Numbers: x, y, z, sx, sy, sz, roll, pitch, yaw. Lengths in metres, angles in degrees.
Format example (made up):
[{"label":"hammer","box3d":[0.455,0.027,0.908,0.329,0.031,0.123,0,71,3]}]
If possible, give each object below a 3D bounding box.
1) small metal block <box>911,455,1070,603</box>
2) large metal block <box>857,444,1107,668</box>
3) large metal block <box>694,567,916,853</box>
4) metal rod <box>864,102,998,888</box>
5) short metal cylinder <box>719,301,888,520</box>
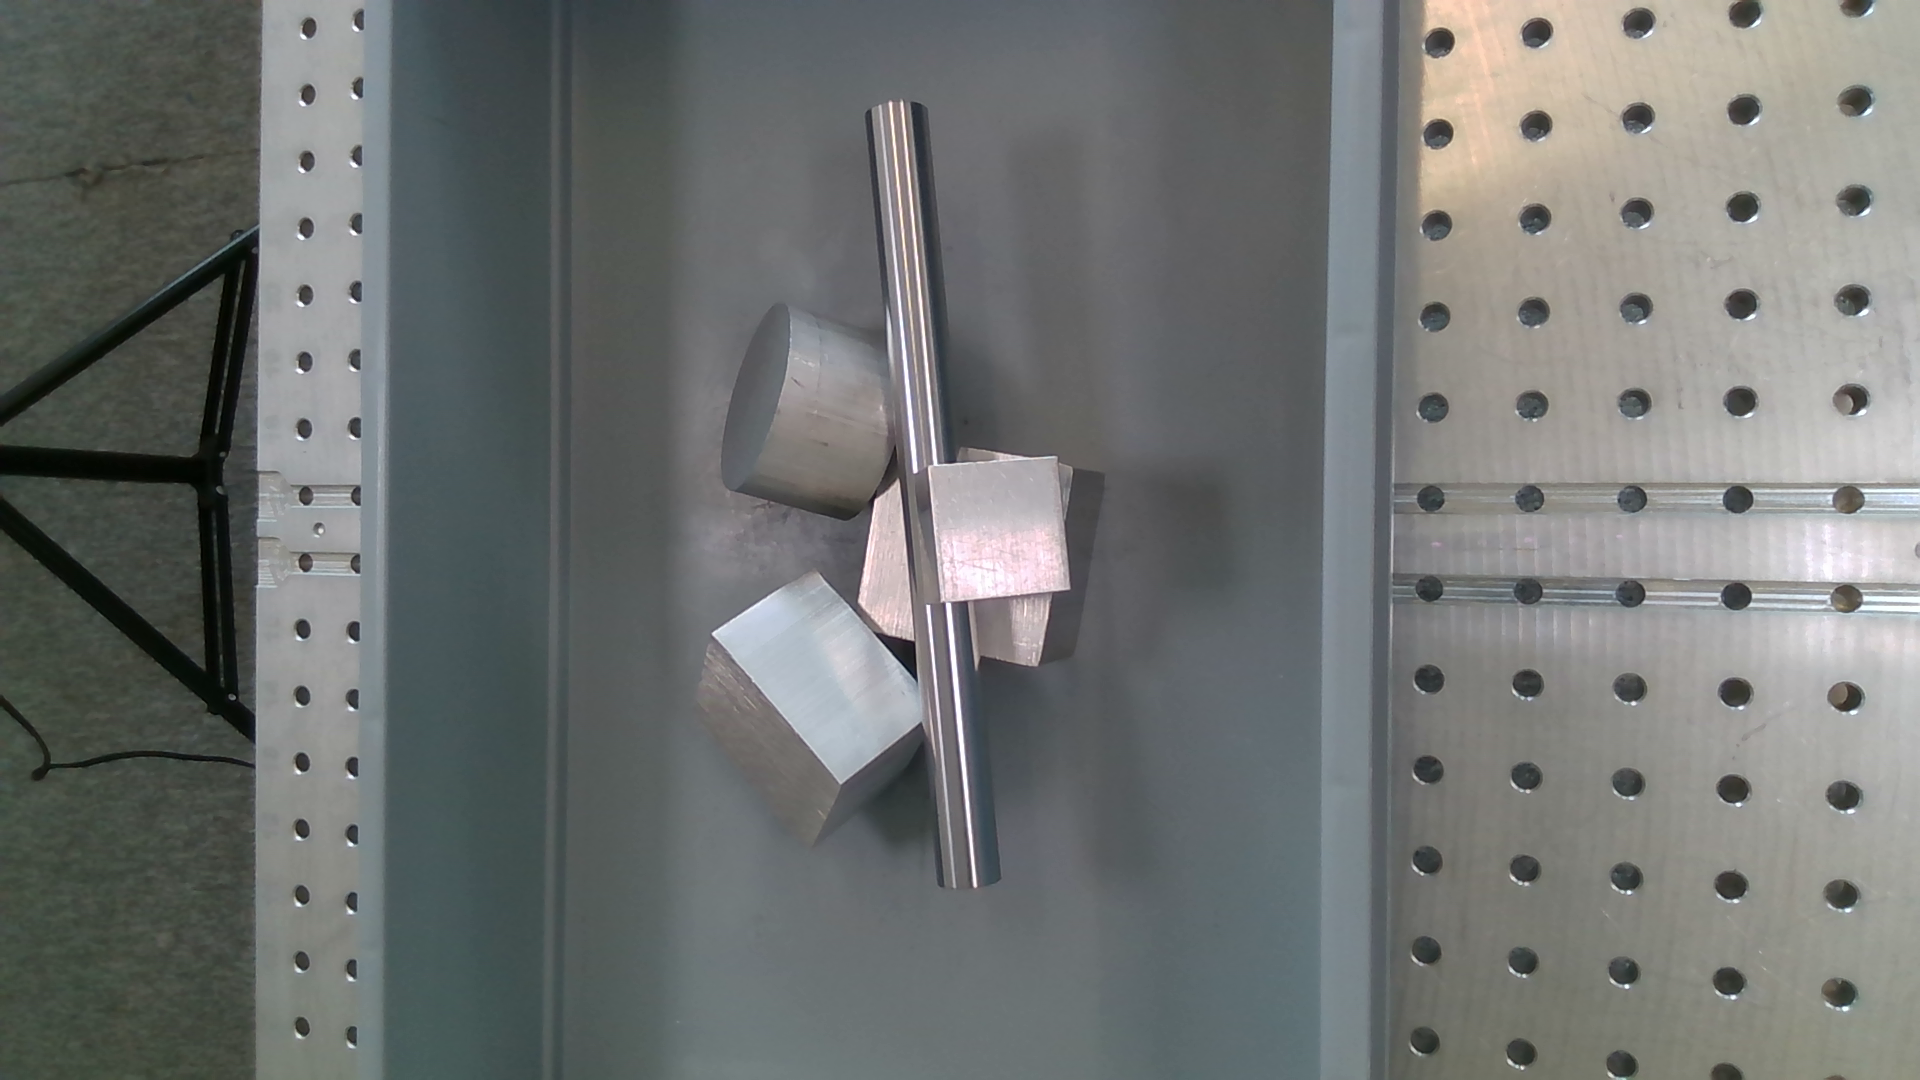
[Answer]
[{"label":"small metal block","box3d":[0.011,-0.004,0.514,0.050,0.025,0.050,-5,88,-15]},{"label":"large metal block","box3d":[0.009,0.003,0.568,0.080,0.050,0.080,11,94,20]},{"label":"large metal block","box3d":[-0.063,0.072,0.573,0.080,0.050,0.080,47,149,14]},{"label":"metal rod","box3d":[-0.011,-0.018,0.535,0.025,0.025,0.300,-6,88,20]},{"label":"short metal cylinder","box3d":[-0.063,-0.053,0.572,0.050,0.080,0.080,15,98,-23]}]
